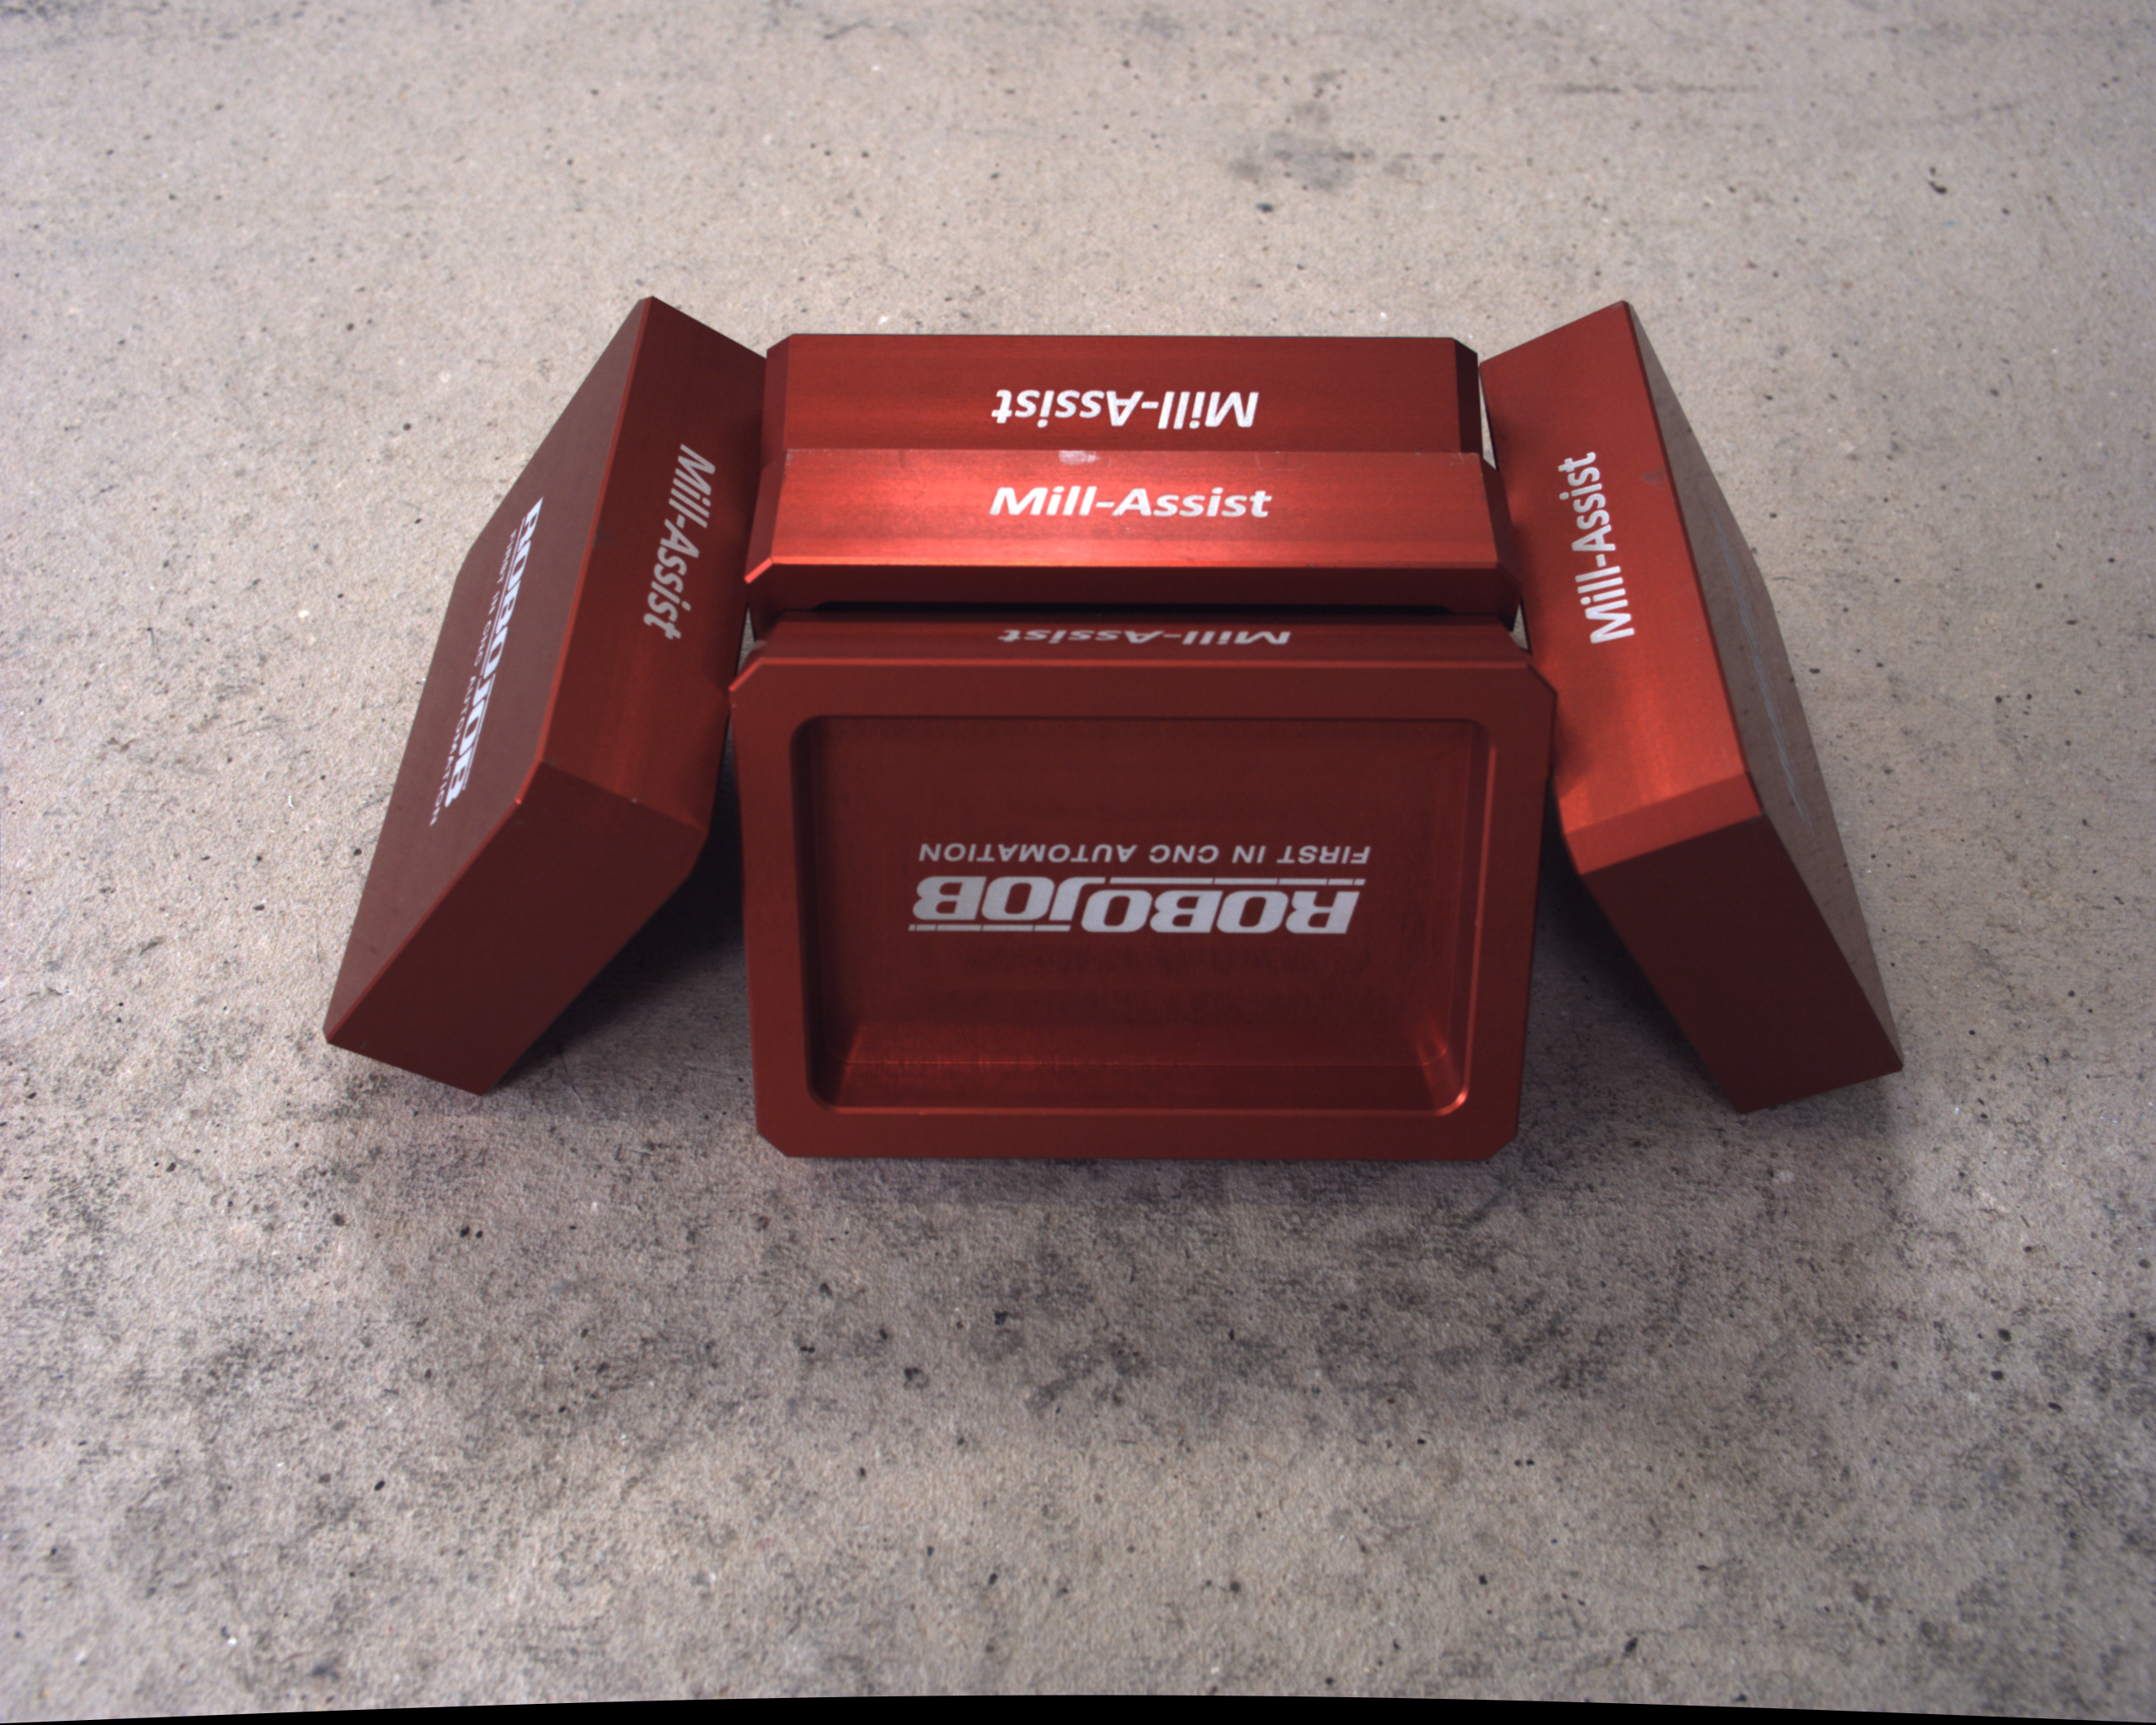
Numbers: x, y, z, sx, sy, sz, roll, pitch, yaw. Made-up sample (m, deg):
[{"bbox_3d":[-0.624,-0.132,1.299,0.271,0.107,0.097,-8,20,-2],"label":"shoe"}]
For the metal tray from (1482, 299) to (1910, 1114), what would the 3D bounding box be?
[{"bbox_3d":[0.113,-0.031,0.387,0.030,0.090,0.130,-21,45,24],"label":"metal tray"}]

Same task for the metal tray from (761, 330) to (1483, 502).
[{"bbox_3d":[0.008,-0.069,0.418,0.131,0.090,0.030,0,72,0],"label":"metal tray"}]

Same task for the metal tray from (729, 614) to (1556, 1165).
[{"bbox_3d":[0.010,0.005,0.357,0.131,0.089,0.030,0,21,0],"label":"metal tray"}]

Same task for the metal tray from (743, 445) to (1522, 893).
[{"bbox_3d":[0.009,-0.033,0.390,0.131,0.089,0.030,0,50,0],"label":"metal tray"}]

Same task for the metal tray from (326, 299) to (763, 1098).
[{"bbox_3d":[-0.096,-0.033,0.390,0.030,0.090,0.130,26,44,-27],"label":"metal tray"}]
